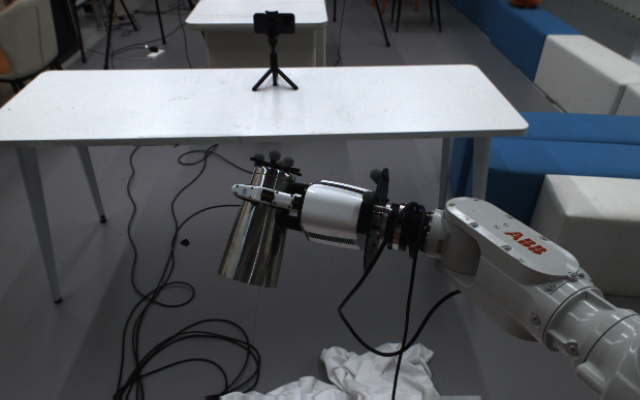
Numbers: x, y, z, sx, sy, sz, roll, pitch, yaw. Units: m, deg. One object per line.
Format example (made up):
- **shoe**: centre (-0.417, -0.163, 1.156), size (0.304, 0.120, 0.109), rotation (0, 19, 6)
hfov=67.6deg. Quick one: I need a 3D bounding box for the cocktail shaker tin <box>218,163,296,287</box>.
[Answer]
- **cocktail shaker tin**: centre (-0.089, 0.037, 0.740), size (0.093, 0.170, 0.093), rotation (15, -5, 1)
